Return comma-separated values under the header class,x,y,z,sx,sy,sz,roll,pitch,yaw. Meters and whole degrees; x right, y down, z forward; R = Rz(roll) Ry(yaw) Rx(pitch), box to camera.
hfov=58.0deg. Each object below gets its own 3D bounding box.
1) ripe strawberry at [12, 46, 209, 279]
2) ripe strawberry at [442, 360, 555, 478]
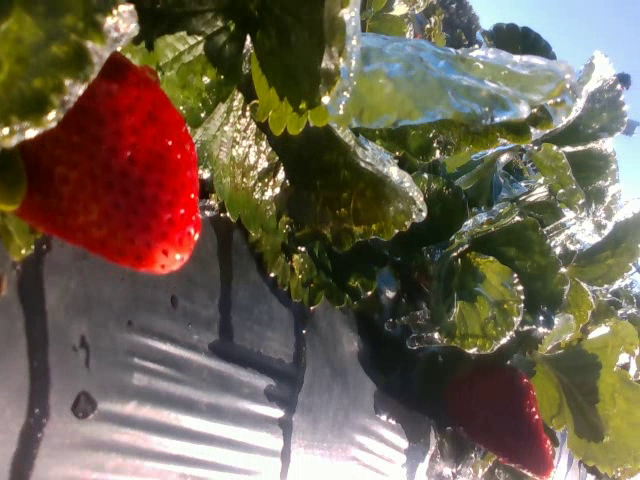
class,x,y,z,sx,sy,sz,roll,pitch,yaw
ripe strawberry,-0.036,-0.011,0.101,0.037,0.040,0.051,27,11,-47
ripe strawberry,0.077,0.077,0.235,0.041,0.047,0.053,37,14,-43
